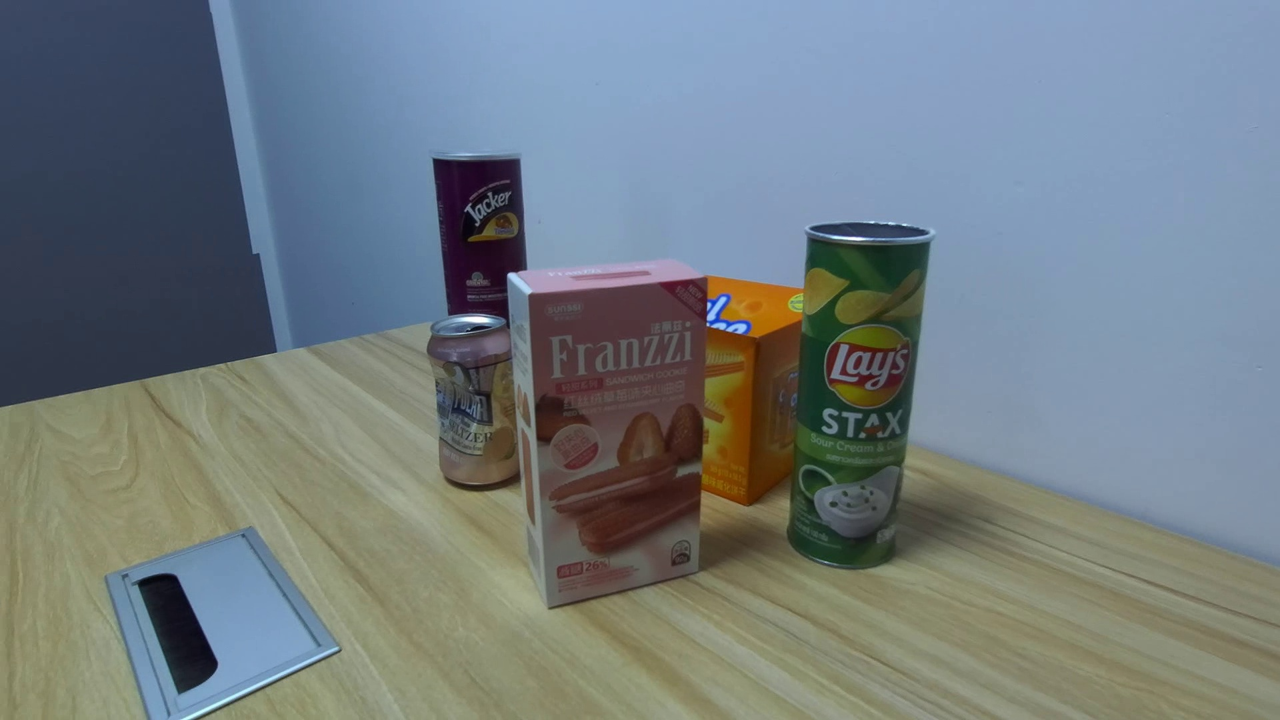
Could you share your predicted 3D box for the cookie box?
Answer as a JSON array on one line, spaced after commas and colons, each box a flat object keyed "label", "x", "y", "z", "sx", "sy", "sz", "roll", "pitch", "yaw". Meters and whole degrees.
[{"label": "cookie box", "x": -0.017, "y": 0.042, "z": 0.399, "sx": 0.096, "sy": 0.184, "sz": 0.048, "roll": -7, "pitch": 21, "yaw": -19}]

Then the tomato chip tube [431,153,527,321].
[{"label": "tomato chip tube", "x": -0.143, "y": -0.071, "z": 0.660, "sx": 0.078, "sy": 0.234, "sz": 0.078, "roll": 0, "pitch": 19, "yaw": 0}]

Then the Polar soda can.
[{"label": "Polar soda can", "x": -0.124, "y": 0.031, "z": 0.535, "sx": 0.067, "sy": 0.122, "sz": 0.074, "roll": -4, "pitch": 18, "yaw": -8}]

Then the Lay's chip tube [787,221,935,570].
[{"label": "Lay's chip tube", "x": 0.128, "y": 0.021, "z": 0.425, "sx": 0.071, "sy": 0.202, "sz": 0.071, "roll": -1, "pitch": 20, "yaw": 1}]
